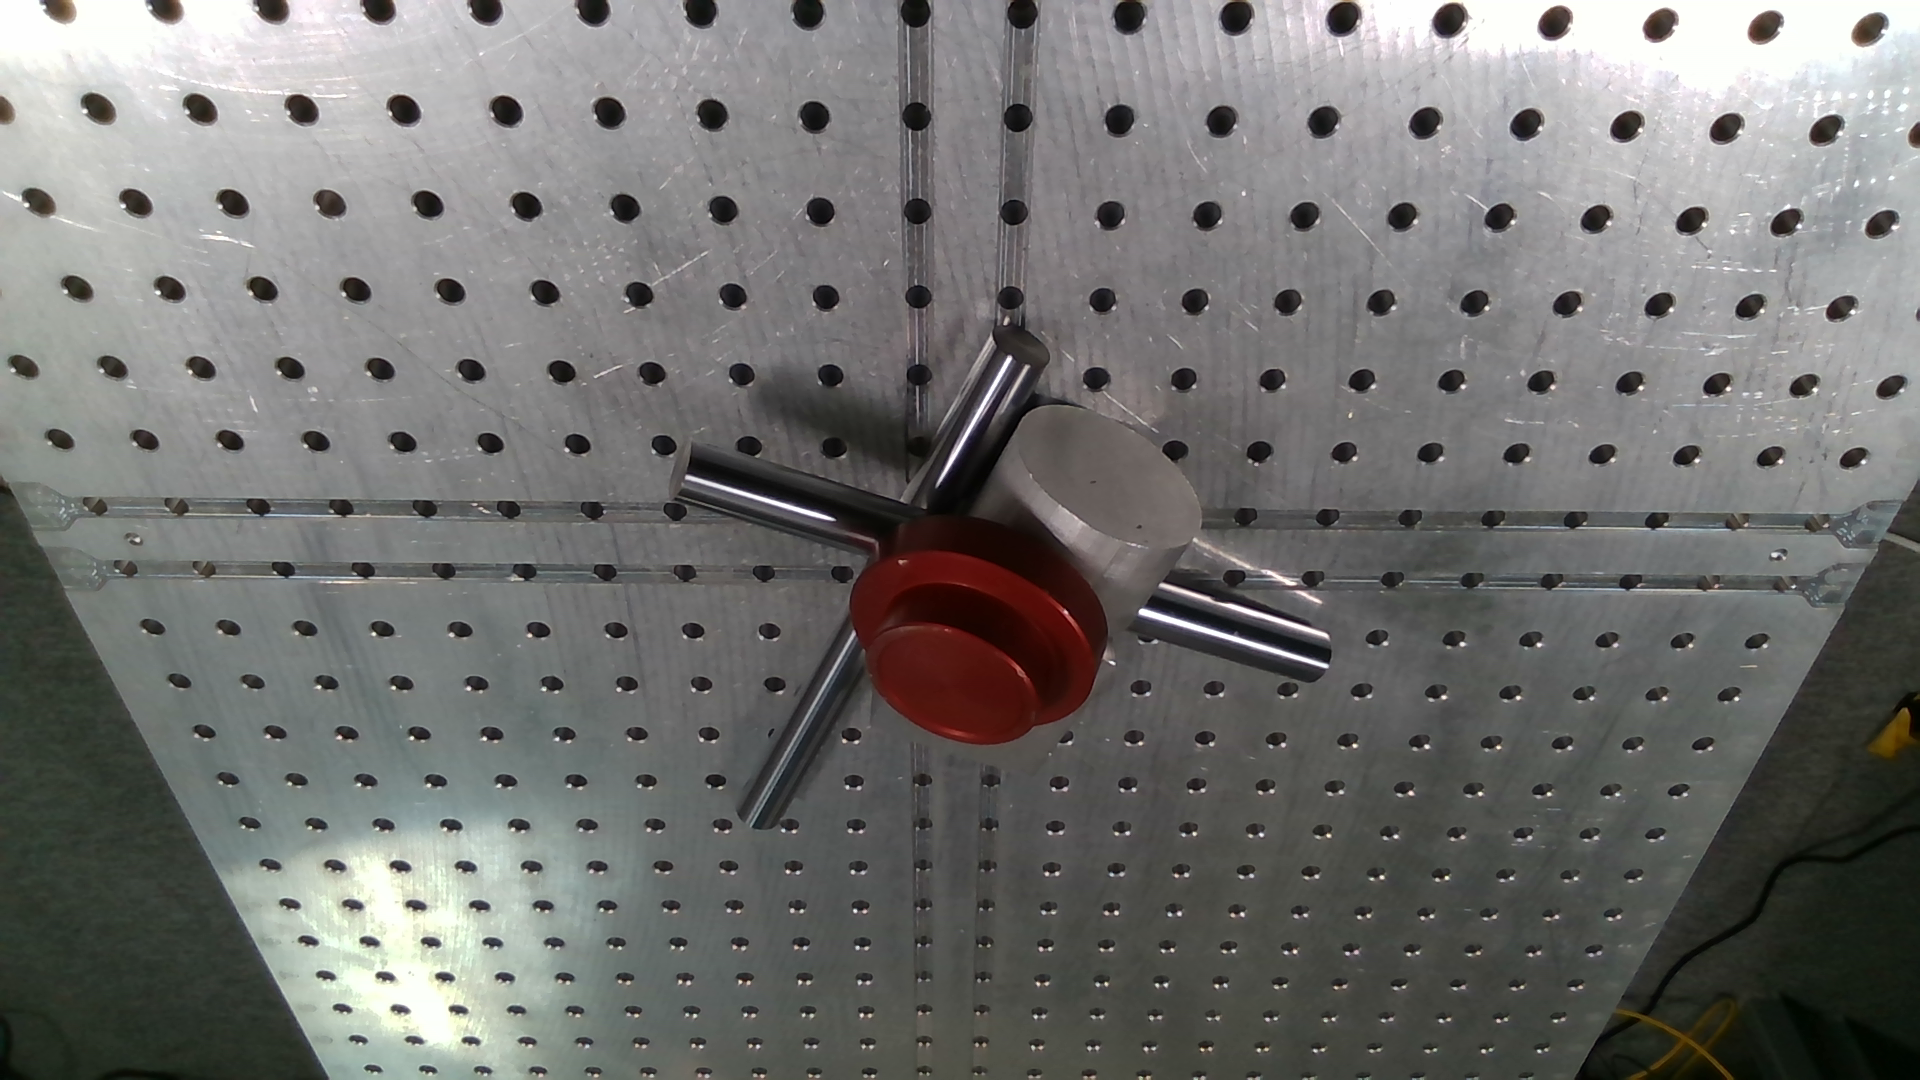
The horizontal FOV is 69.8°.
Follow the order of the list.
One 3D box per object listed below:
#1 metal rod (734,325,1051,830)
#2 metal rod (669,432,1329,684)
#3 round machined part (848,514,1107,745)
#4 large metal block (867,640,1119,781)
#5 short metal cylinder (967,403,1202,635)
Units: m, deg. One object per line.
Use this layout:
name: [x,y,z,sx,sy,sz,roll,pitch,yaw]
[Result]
metal rod: [-0.040,0.031,0.608,0.025,0.025,0.301,19,127,-16]
metal rod: [0.028,0.013,0.568,0.300,0.025,0.025,17,128,-23]
round machined part: [0.003,0.040,0.519,0.098,0.042,0.098,15,139,13]
large metal block: [0.013,0.051,0.605,0.080,0.050,0.080,20,127,-16]
short metal cylinder: [0.047,-0.008,0.539,0.080,0.080,0.050,19,127,-16]
